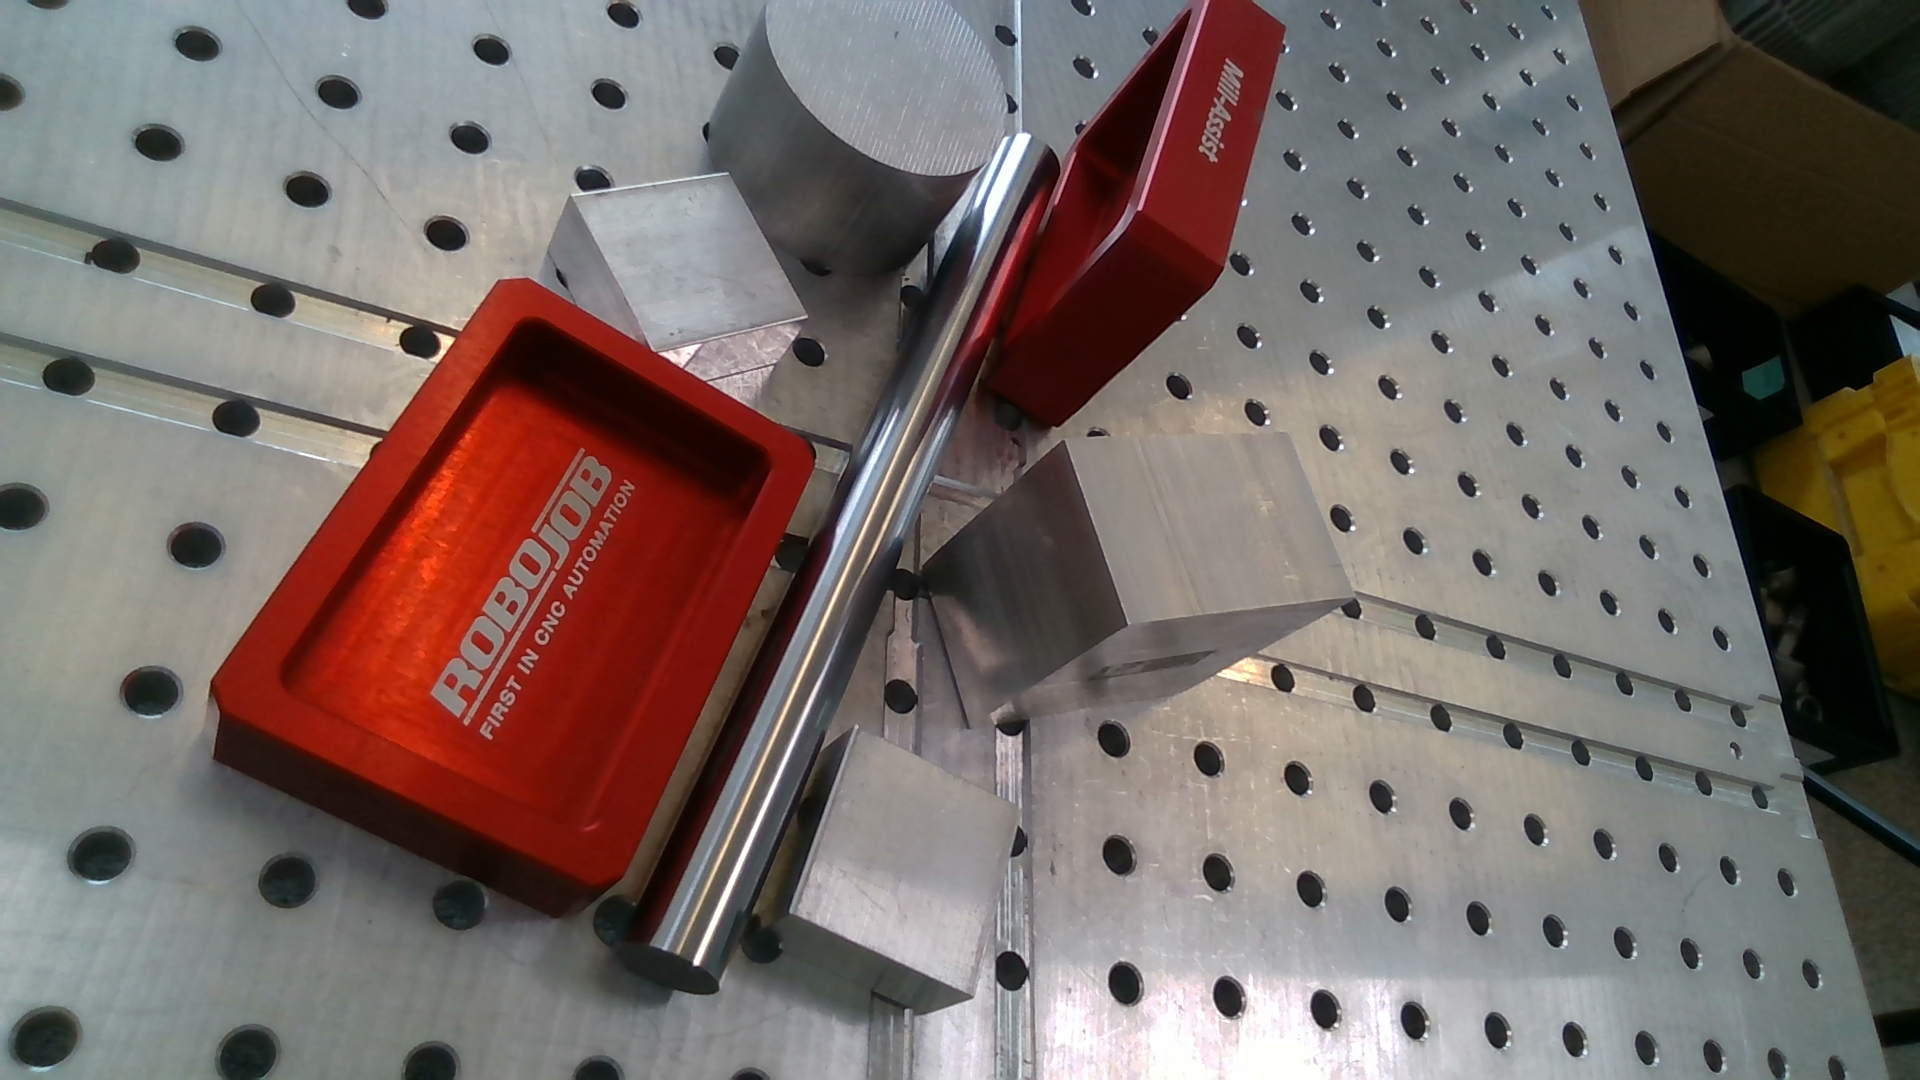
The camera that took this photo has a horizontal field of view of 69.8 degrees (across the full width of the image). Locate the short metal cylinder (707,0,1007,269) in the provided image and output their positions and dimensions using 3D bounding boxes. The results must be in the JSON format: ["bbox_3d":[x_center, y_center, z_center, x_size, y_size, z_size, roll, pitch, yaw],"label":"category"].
[{"bbox_3d":[-0.032,-0.133,0.430,0.080,0.050,0.080,14,59,-25],"label":"short metal cylinder"}]

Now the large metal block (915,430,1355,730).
[{"bbox_3d":[0.046,0.011,0.385,0.080,0.080,0.050,-5,68,-33],"label":"large metal block"}]

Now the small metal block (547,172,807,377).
[{"bbox_3d":[-0.079,-0.072,0.387,0.050,0.025,0.050,-21,78,-37],"label":"small metal block"}]

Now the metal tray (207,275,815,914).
[{"bbox_3d":[-0.099,0.009,0.327,0.090,0.030,0.130,30,53,-14],"label":"metal tray"}]

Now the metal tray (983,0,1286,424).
[{"bbox_3d":[0.057,-0.111,0.447,0.030,0.090,0.130,31,53,-14],"label":"metal tray"}]

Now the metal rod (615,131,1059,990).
[{"bbox_3d":[-0.021,-0.019,0.393,0.025,0.025,0.299,31,53,-14],"label":"metal rod"}]

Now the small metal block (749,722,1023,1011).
[{"bbox_3d":[-0.017,0.081,0.342,0.050,0.025,0.050,29,53,-15],"label":"small metal block"}]
